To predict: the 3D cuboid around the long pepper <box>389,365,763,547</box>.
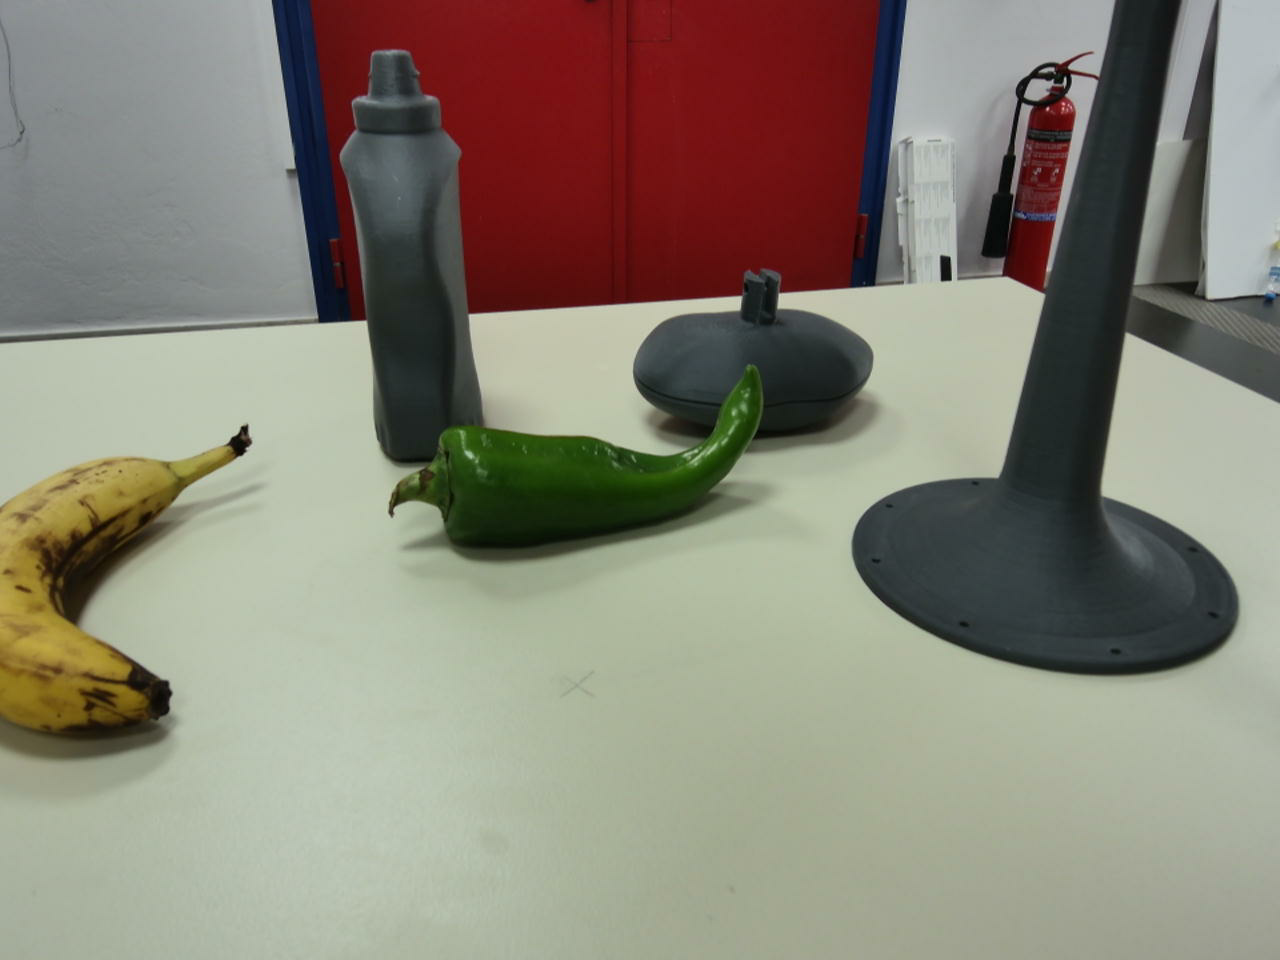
[{"bbox_3d":[-0.024,-0.010,0.446,0.175,0.065,0.058,-6,25,-14],"label":"long pepper"}]
